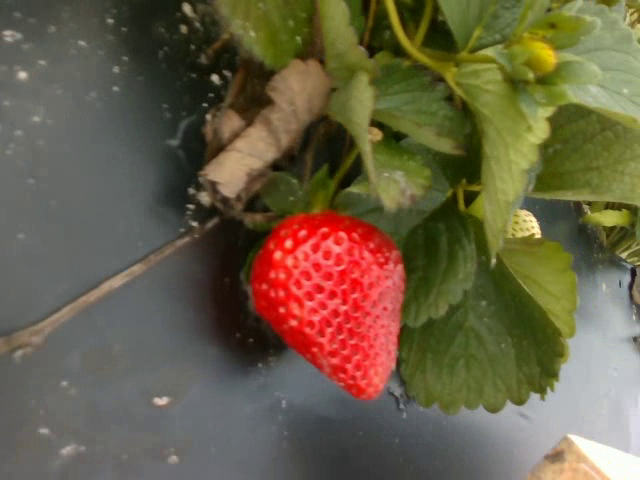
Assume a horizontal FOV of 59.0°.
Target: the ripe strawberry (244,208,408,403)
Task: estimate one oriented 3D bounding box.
[{"bbox_3d":[0.005,0.013,0.112,0.037,0.046,0.037,-14,-13,-14],"label":"ripe strawberry"}]
